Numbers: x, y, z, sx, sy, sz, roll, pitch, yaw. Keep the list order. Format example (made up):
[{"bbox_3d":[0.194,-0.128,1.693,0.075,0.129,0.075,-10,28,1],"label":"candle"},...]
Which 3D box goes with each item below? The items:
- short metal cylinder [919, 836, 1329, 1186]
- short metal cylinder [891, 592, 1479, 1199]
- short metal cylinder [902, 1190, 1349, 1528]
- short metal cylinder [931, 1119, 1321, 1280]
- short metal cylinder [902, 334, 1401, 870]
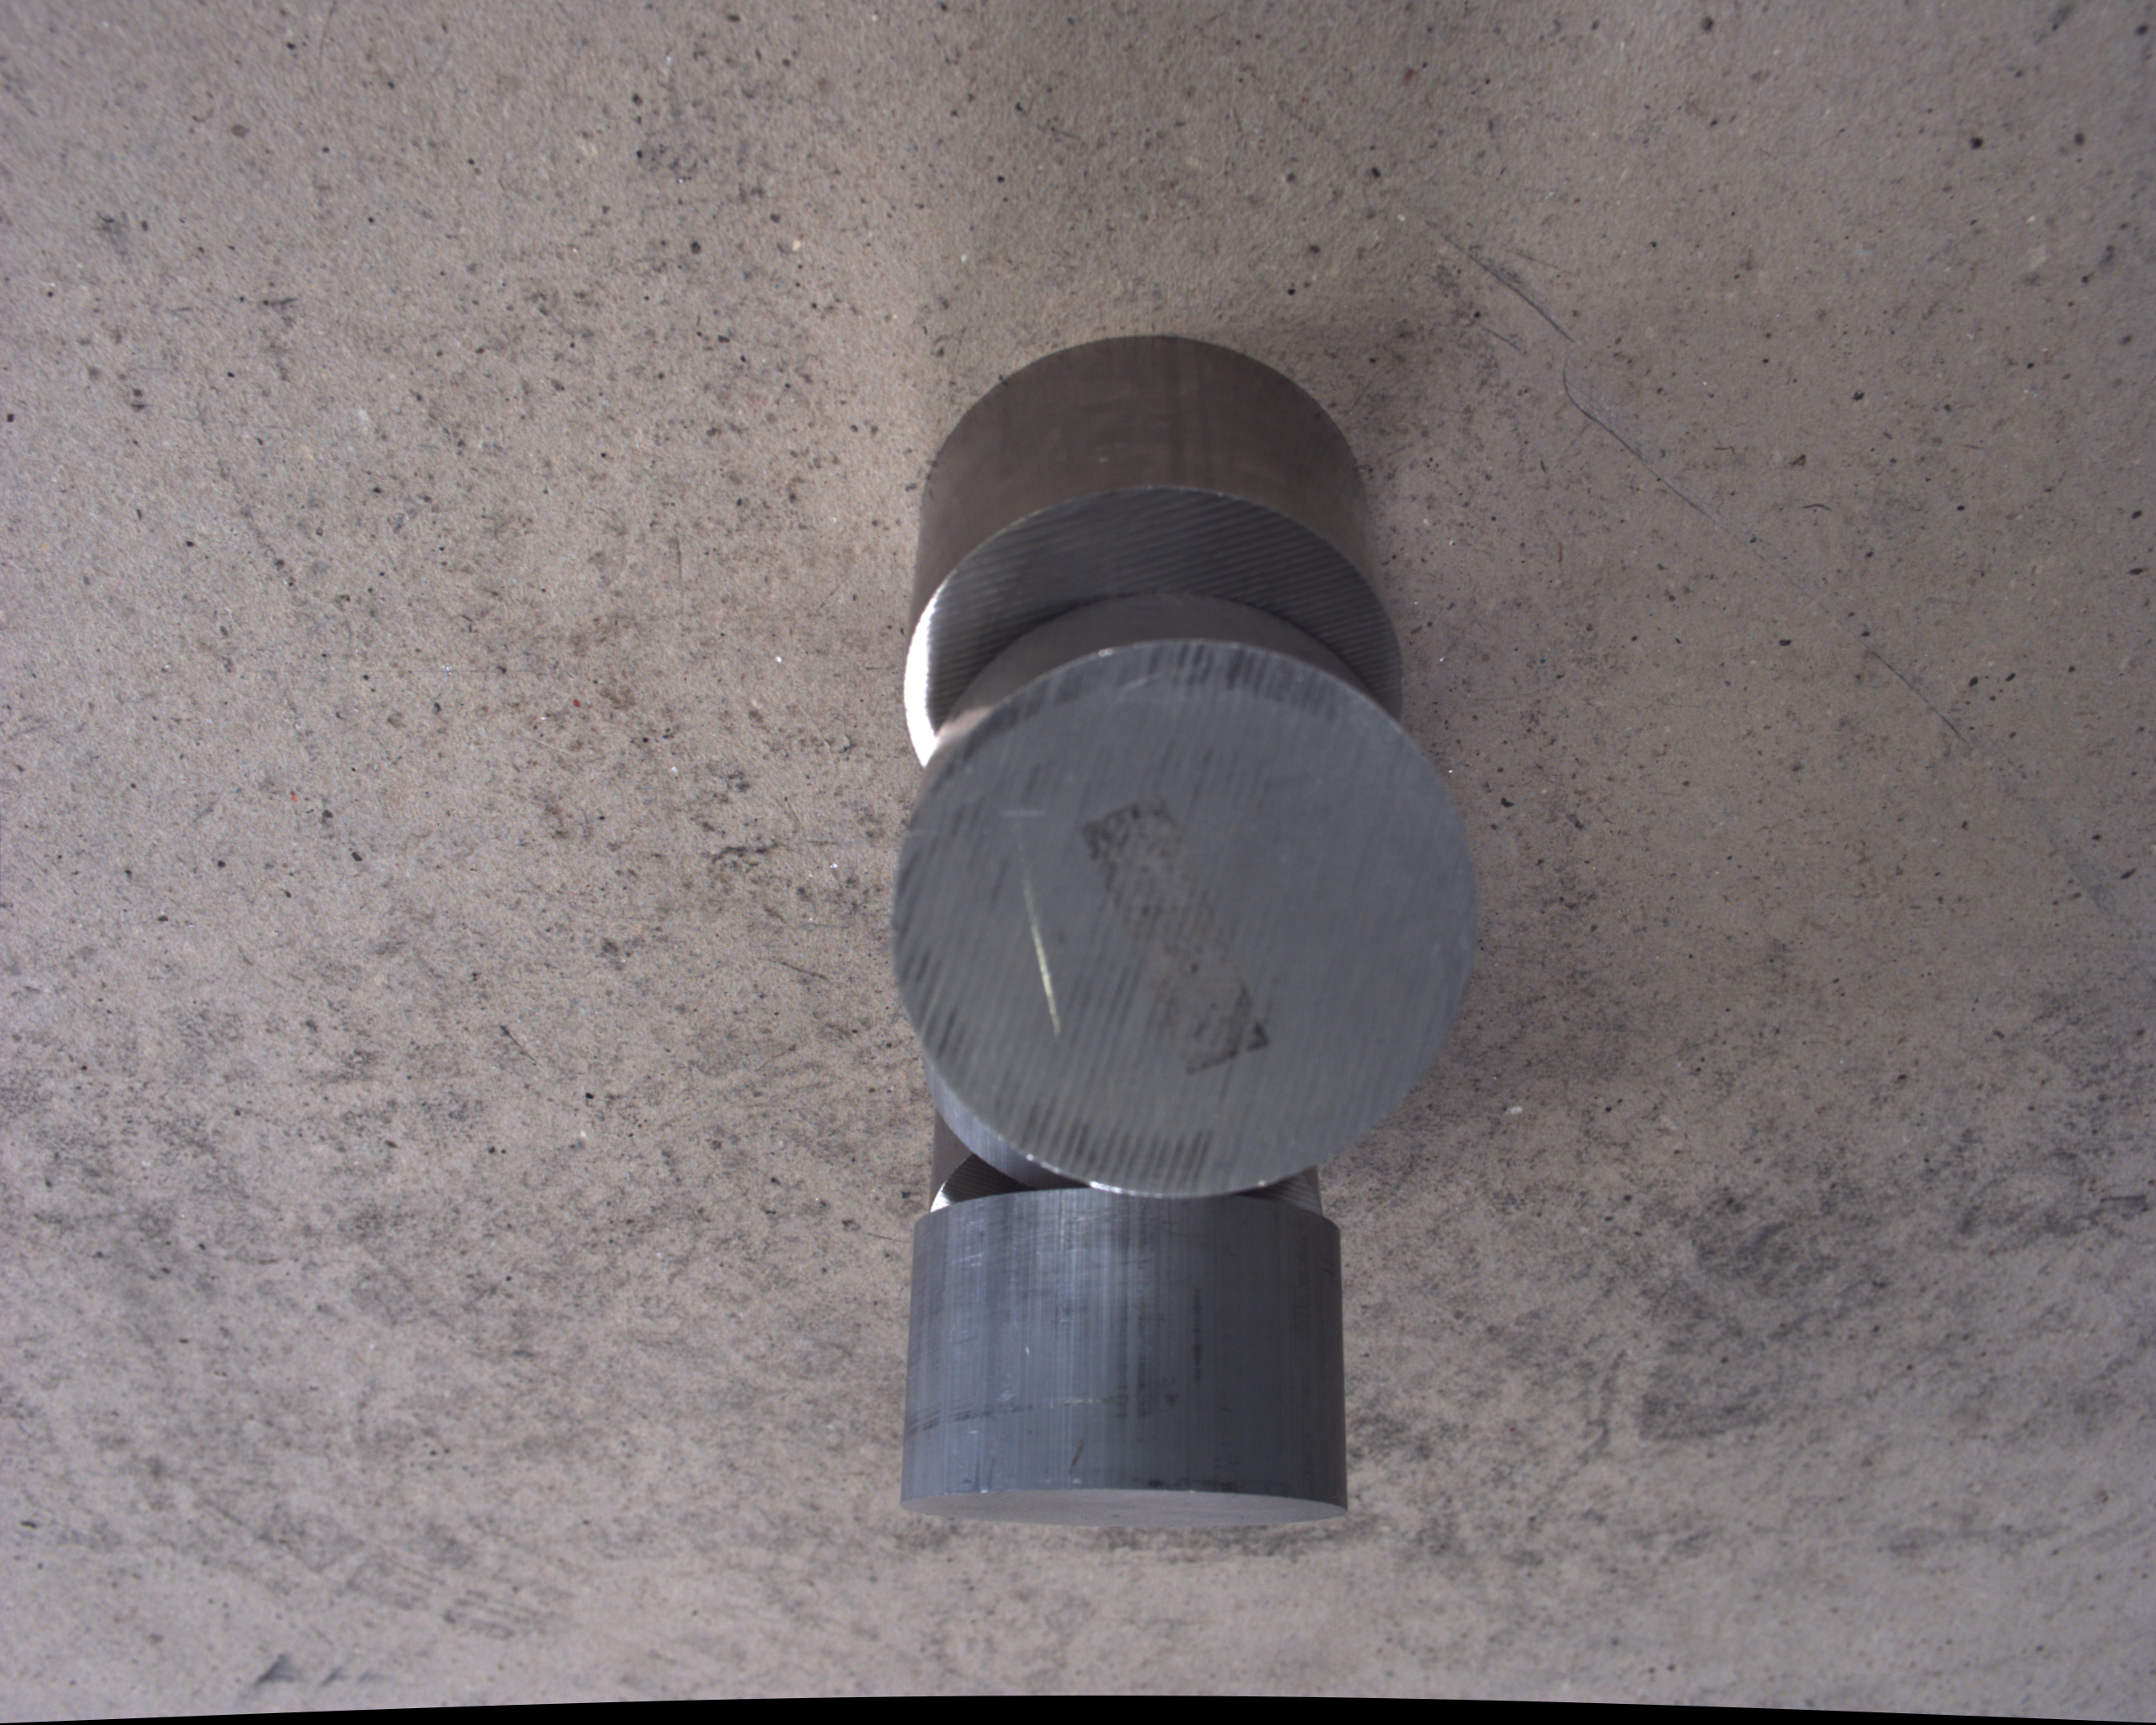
[{"bbox_3d":[0.011,0.017,0.388,0.081,0.080,0.050,1,130,-1],"label":"short metal cylinder"},{"bbox_3d":[0.014,0.003,0.310,0.081,0.050,0.079,0,105,-1],"label":"short metal cylinder"},{"bbox_3d":[0.009,0.094,0.385,0.080,0.050,0.080,1,158,1],"label":"short metal cylinder"},{"bbox_3d":[0.010,0.061,0.444,0.081,0.050,0.079,0,130,0],"label":"short metal cylinder"},{"bbox_3d":[0.012,-0.042,0.357,0.081,0.050,0.079,0,130,0],"label":"short metal cylinder"}]
